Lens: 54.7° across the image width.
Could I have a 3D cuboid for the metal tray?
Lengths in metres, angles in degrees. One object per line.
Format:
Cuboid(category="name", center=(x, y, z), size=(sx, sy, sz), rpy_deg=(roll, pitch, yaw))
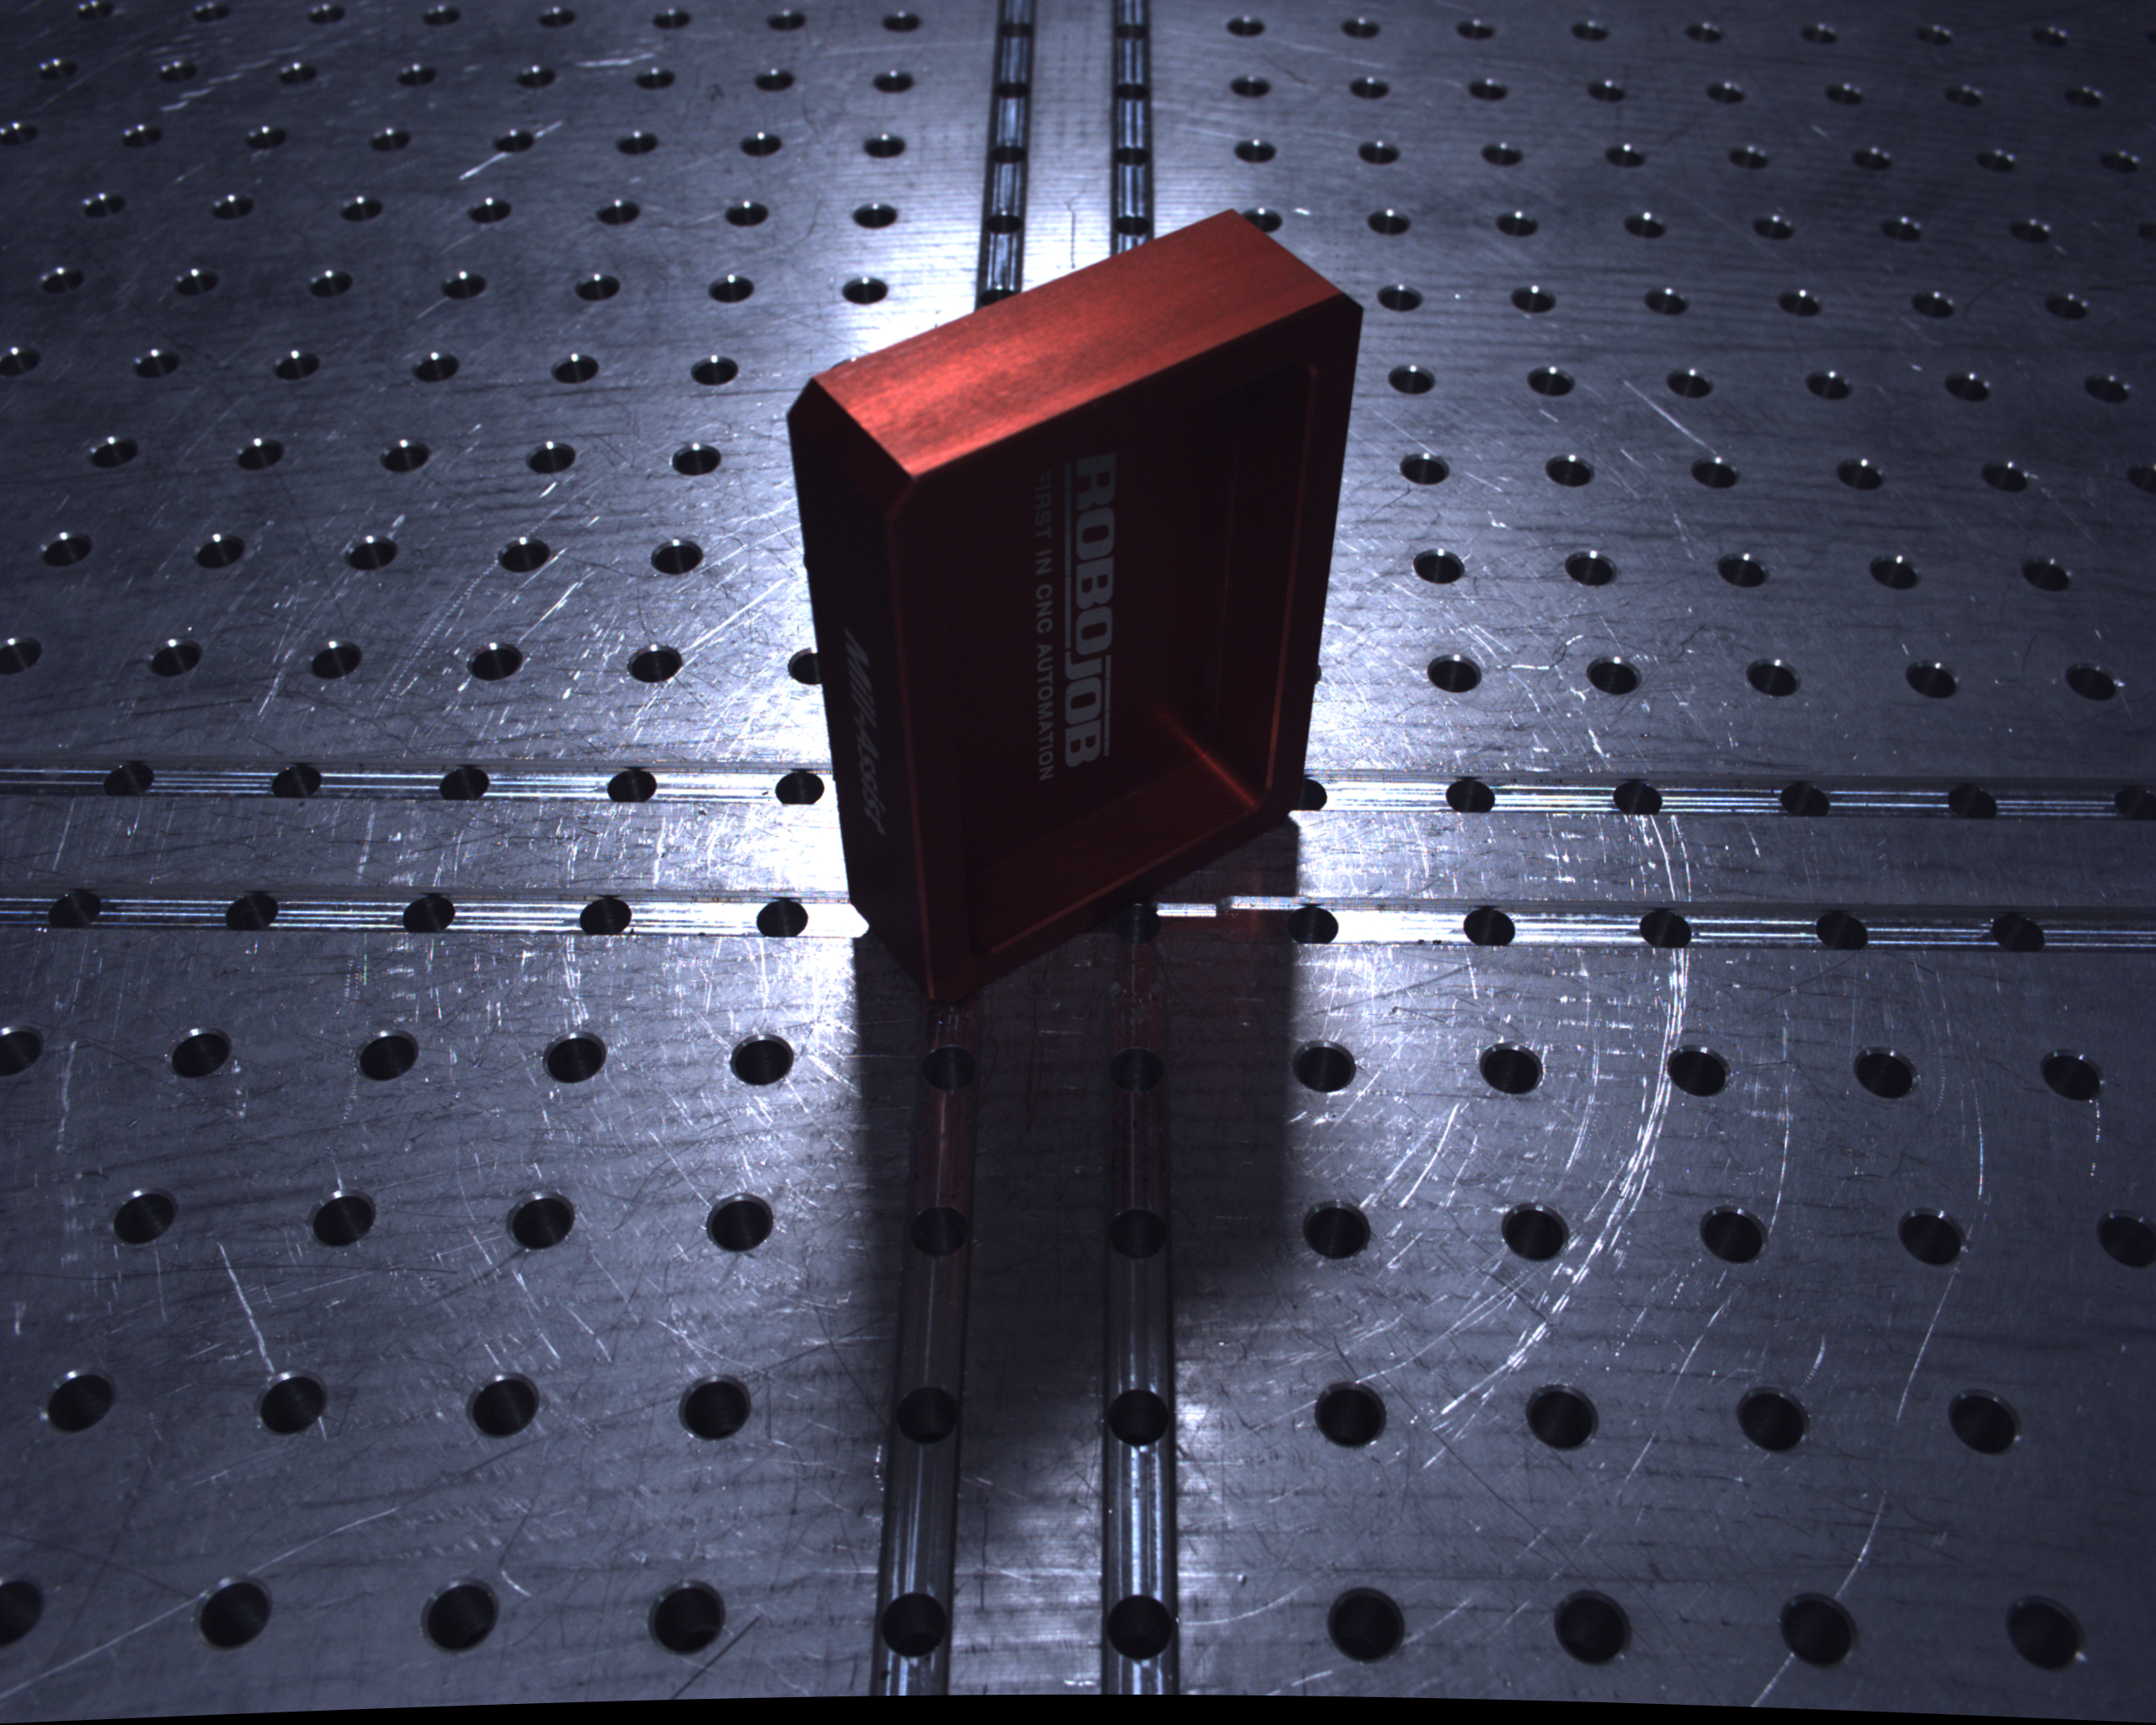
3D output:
Cuboid(category="metal tray", center=(0.000, -0.041, 0.374), size=(0.091, 0.129, 0.030), rpy_deg=(-28, 56, -22))
